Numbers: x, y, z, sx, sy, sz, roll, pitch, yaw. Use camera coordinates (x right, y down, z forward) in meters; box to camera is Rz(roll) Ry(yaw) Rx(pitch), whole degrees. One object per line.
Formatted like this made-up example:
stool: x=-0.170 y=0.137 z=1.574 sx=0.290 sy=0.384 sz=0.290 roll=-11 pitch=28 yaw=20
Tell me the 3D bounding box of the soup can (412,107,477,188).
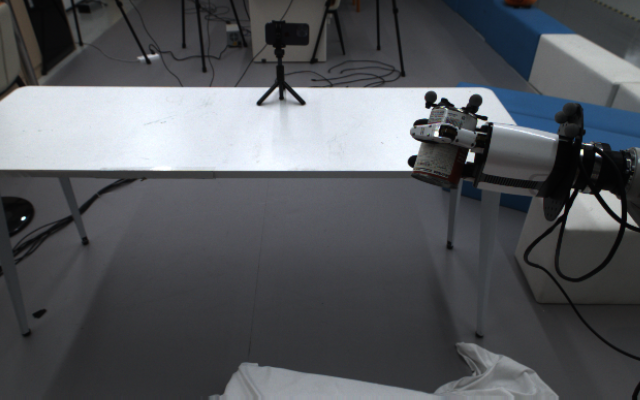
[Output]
soup can: x=0.175 y=-0.075 z=0.685 sx=0.067 sy=0.101 sz=0.067 roll=18 pitch=-2 yaw=1
